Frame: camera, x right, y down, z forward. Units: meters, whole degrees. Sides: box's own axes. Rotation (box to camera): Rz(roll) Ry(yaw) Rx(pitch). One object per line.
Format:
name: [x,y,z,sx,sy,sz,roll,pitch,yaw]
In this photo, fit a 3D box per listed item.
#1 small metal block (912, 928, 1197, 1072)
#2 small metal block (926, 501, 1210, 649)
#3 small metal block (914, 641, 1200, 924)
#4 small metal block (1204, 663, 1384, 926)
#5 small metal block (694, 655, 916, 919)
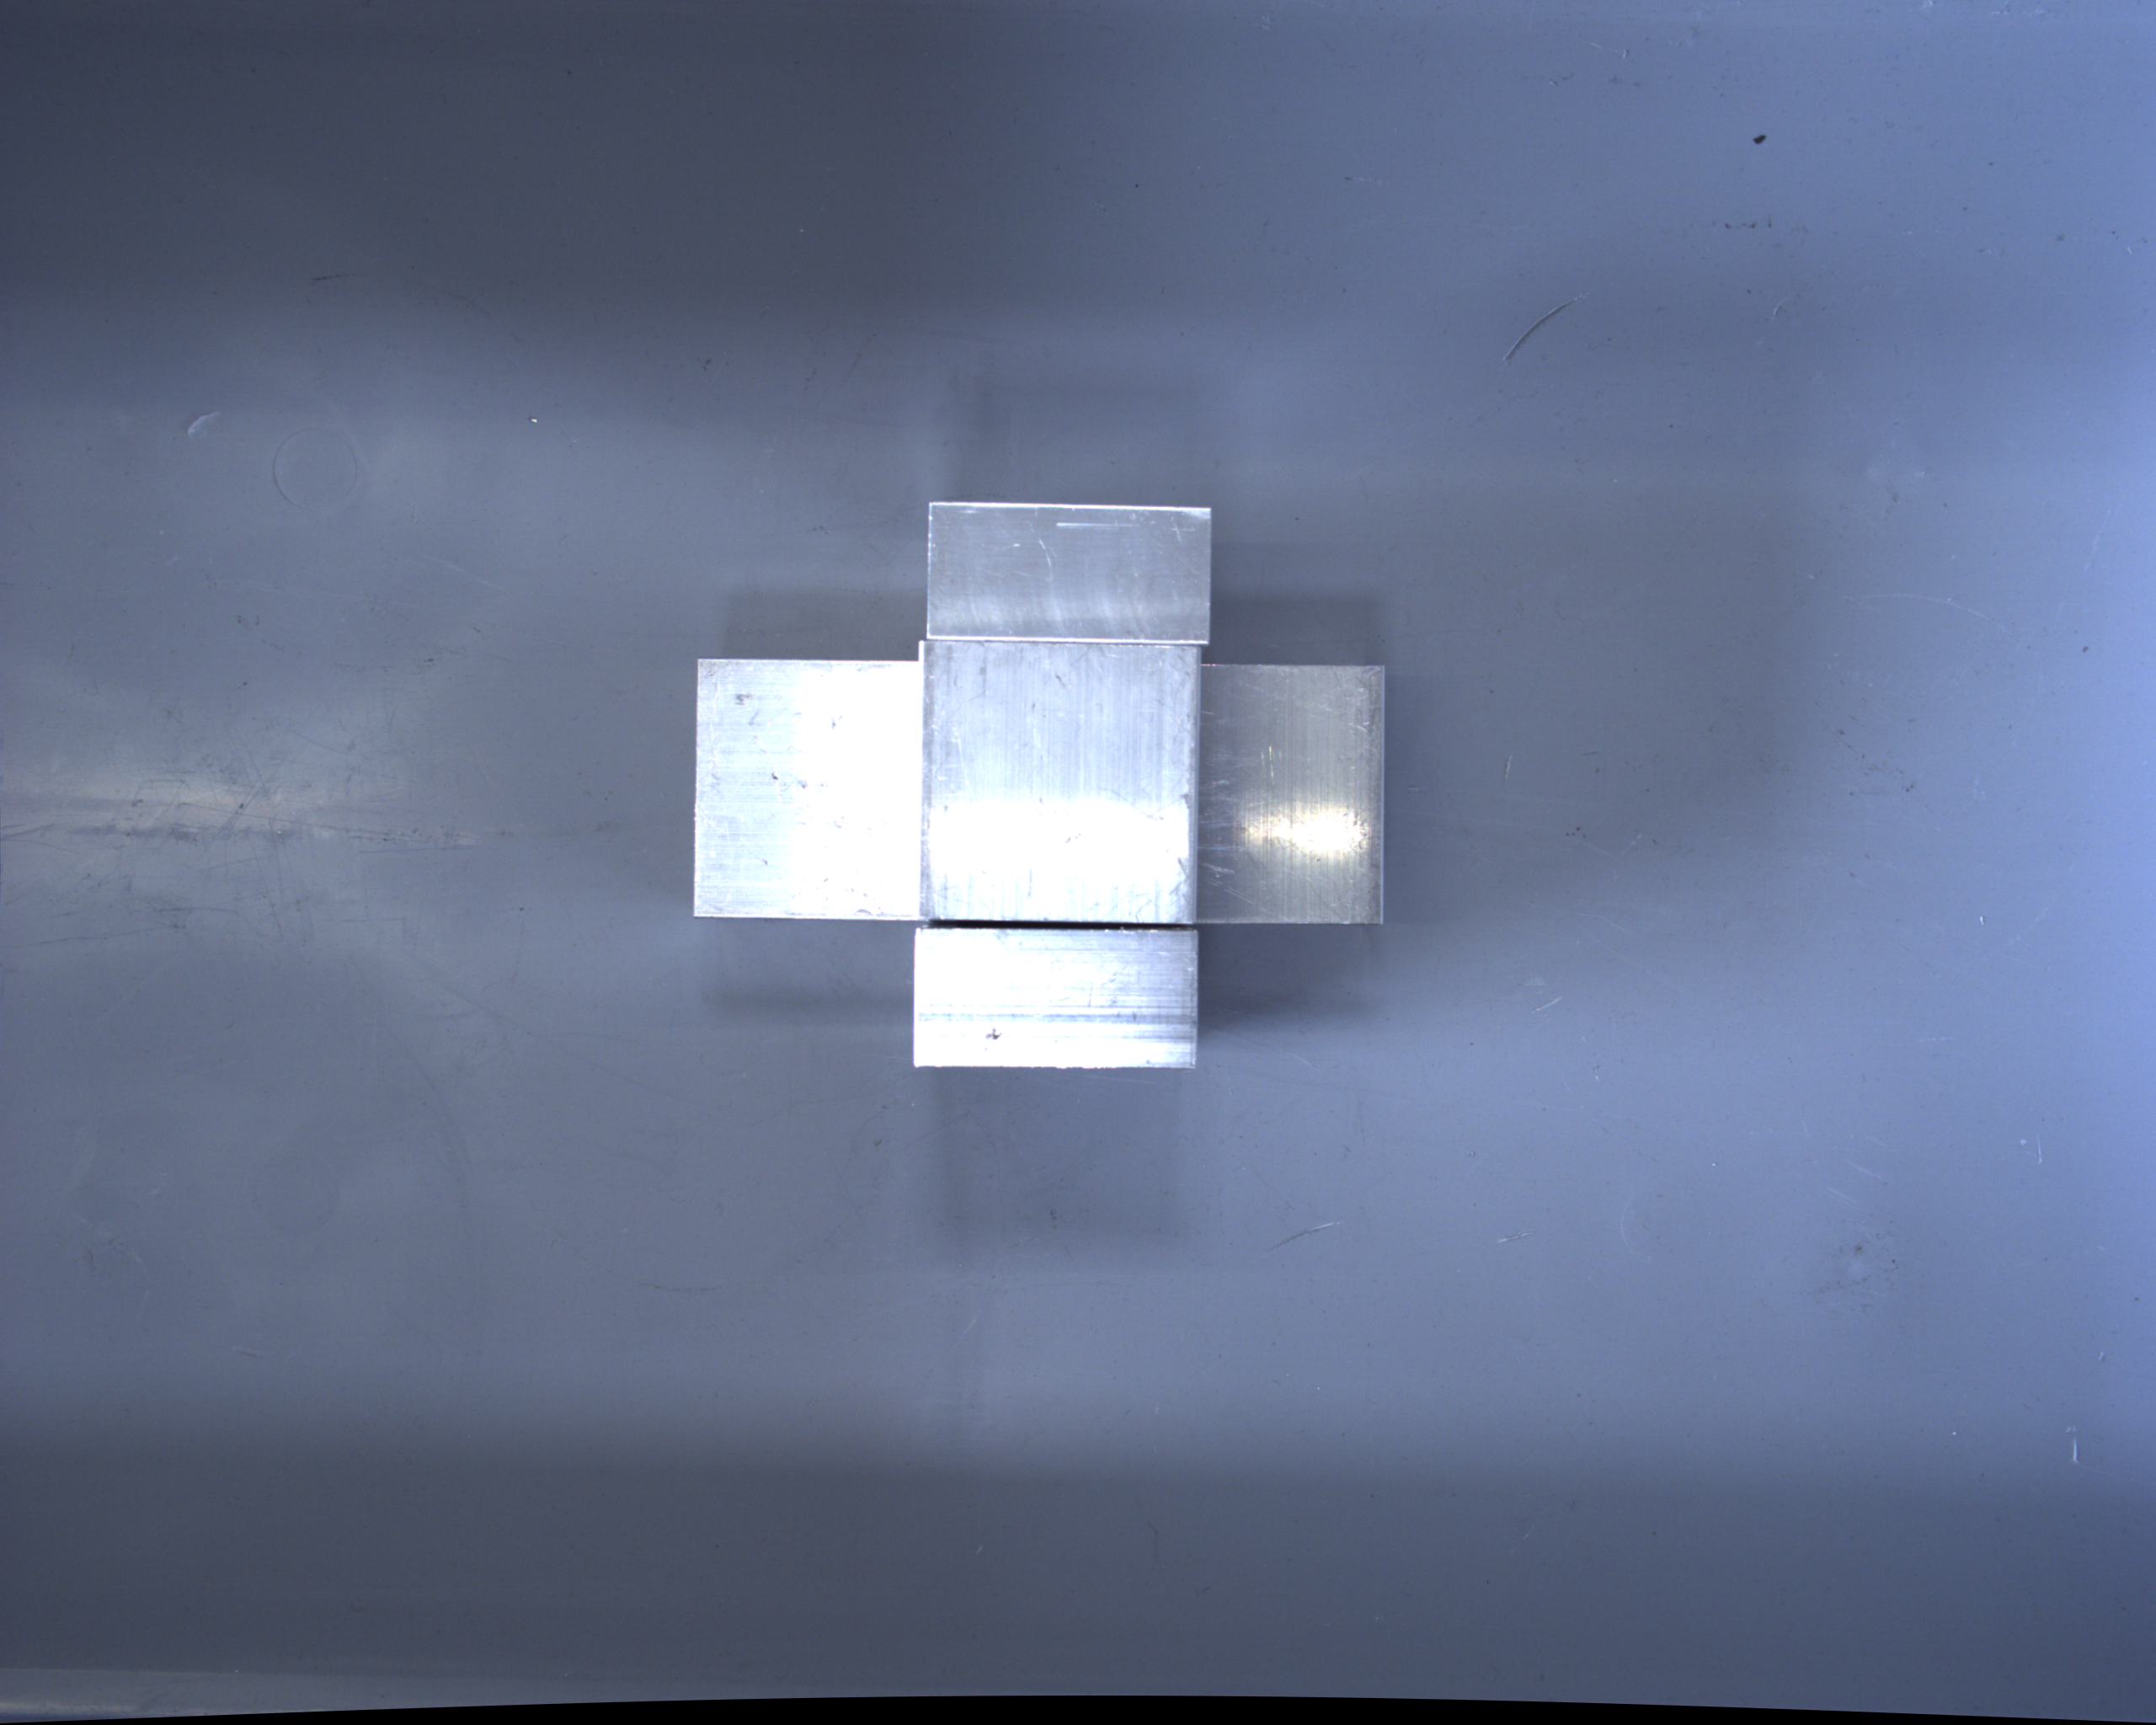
small metal block: [-0.004,0.024,0.396,0.050,0.050,0.025,1,90,0]
small metal block: [-0.002,-0.052,0.396,0.050,0.050,0.025,1,90,0]
small metal block: [-0.004,-0.014,0.384,0.050,0.025,0.050,1,90,-1]
small metal block: [0.033,-0.013,0.410,0.050,0.025,0.050,1,90,-1]
small metal block: [-0.047,-0.014,0.409,0.050,0.025,0.050,1,90,0]
